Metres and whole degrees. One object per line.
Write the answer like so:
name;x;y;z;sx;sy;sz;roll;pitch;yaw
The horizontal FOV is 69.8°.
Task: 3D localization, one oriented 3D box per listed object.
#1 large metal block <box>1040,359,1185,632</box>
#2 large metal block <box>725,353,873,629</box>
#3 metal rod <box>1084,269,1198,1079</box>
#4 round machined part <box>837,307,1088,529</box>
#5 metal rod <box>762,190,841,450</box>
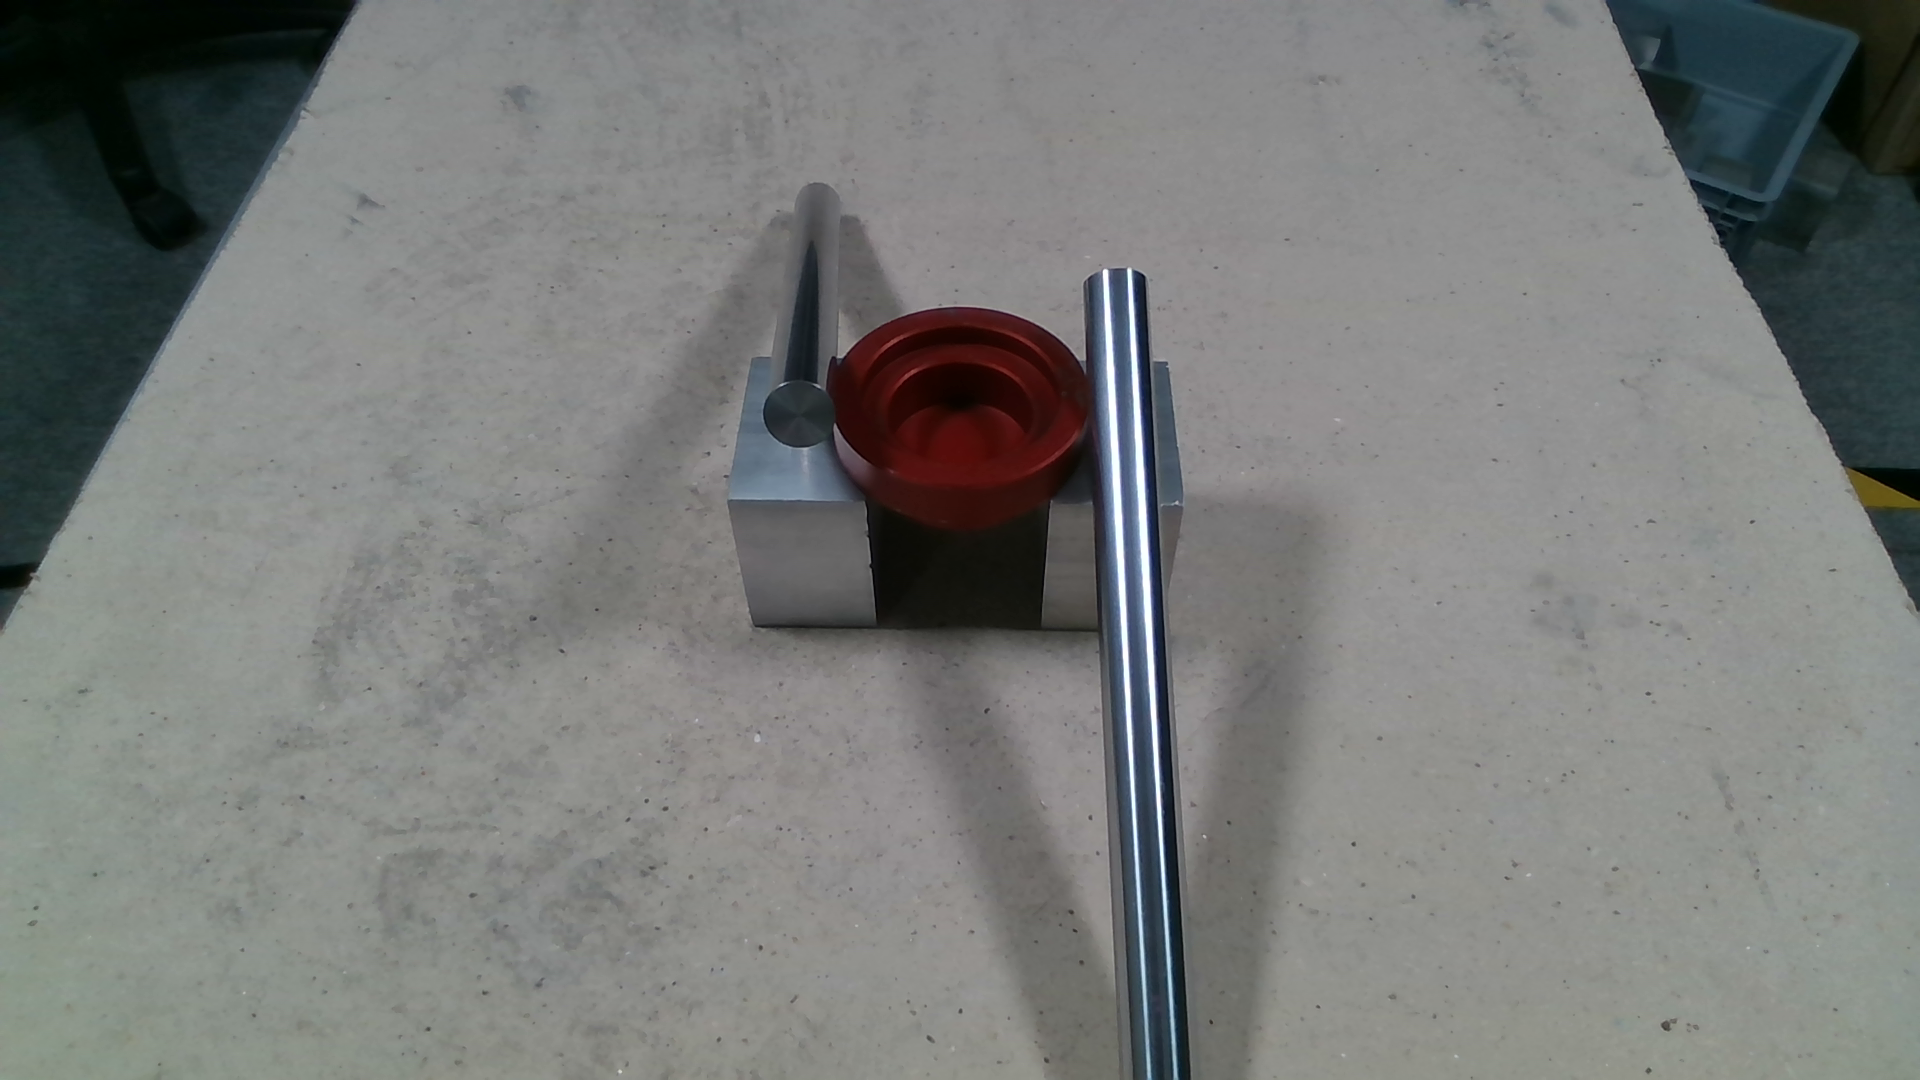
large metal block;0.059;-0.018;0.566;0.050;0.080;0.080;1;50;1
large metal block;-0.062;-0.020;0.568;0.050;0.080;0.080;1;50;1
metal rod;0.062;0.045;0.479;0.025;0.025;0.299;-1;72;0
round machined part;0.000;-0.043;0.535;0.098;0.042;0.098;0;50;0
metal rod;-0.066;-0.110;0.607;0.025;0.025;0.299;-3;27;-3
